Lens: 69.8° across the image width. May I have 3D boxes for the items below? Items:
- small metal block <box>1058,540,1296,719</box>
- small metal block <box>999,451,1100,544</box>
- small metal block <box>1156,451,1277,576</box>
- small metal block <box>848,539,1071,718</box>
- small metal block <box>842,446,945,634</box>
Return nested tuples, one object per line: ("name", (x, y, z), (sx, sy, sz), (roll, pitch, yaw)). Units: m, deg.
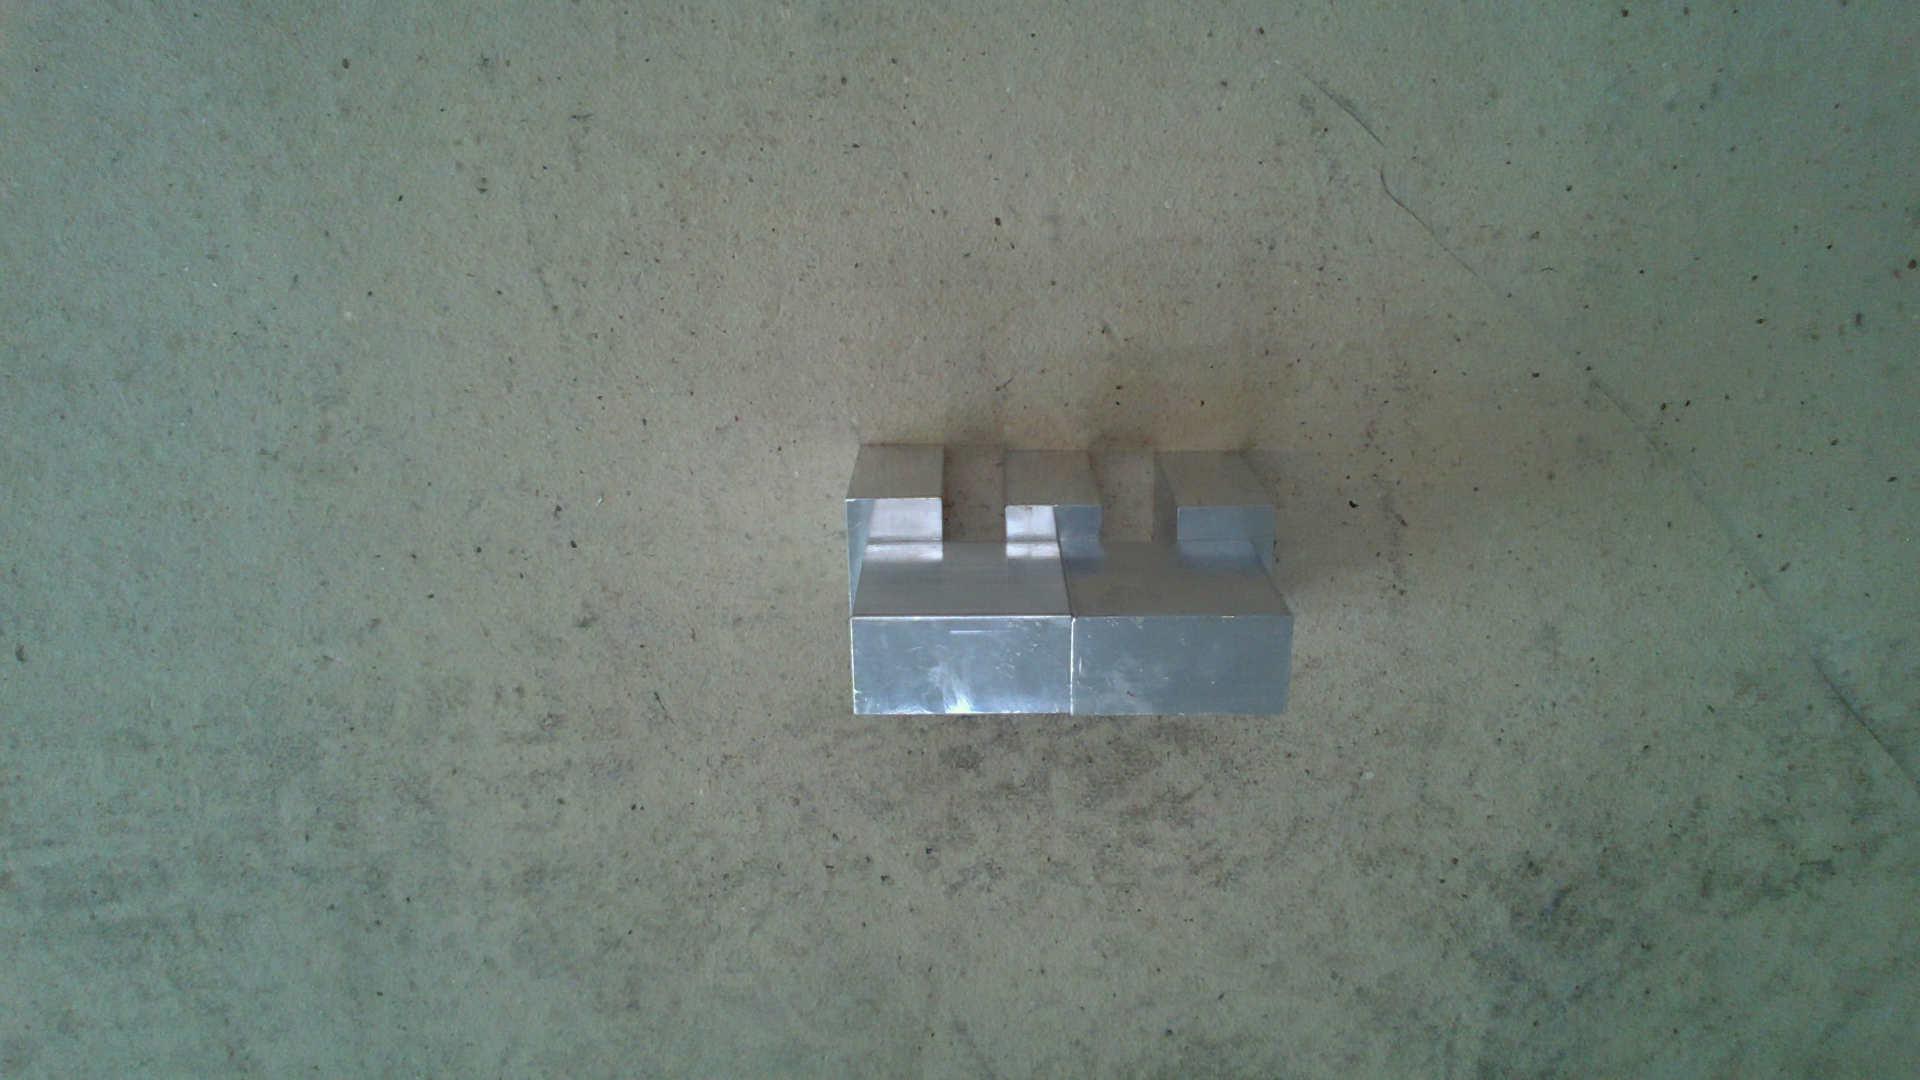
("small metal block", (0.050, 0.021, 0.336), (0.050, 0.050, 0.025), (0, 110, 0))
("small metal block", (0.024, 0.006, 0.384), (0.025, 0.050, 0.050), (-1, 110, 1))
("small metal block", (0.070, 0.006, 0.384), (0.025, 0.050, 0.050), (-1, 110, 1))
("small metal block", (0.000, 0.020, 0.336), (0.050, 0.050, 0.025), (0, 110, 0))
("small metal block", (-0.017, 0.005, 0.382), (0.025, 0.050, 0.050), (0, 110, 1))
